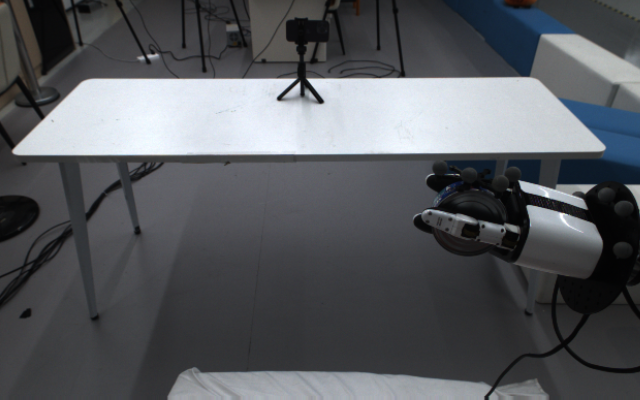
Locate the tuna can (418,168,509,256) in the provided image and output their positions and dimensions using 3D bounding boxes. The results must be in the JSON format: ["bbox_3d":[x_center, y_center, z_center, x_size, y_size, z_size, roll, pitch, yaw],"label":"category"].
[{"bbox_3d":[0.175,0.020,0.570,0.085,0.085,0.034,7,21,7],"label":"tuna can"}]
